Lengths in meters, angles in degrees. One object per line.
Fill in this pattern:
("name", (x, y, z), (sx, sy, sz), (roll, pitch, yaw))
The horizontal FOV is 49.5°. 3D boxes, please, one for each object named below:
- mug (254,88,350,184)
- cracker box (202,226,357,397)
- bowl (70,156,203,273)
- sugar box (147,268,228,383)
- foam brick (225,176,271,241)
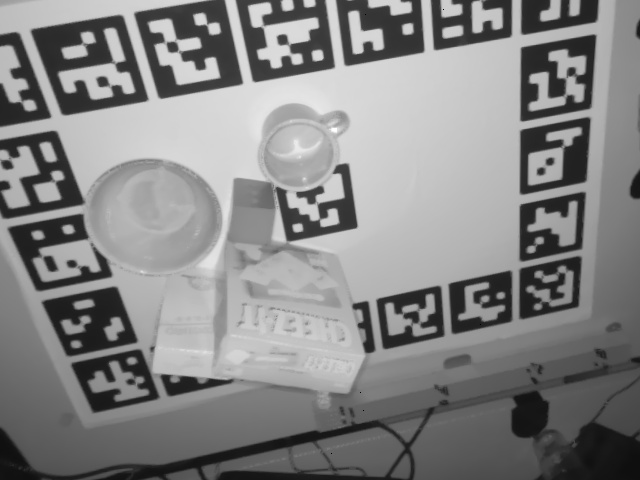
("mug", (-0.022, -0.130, 0.812), (0.117, 0.082, 0.093), (-19, 128, 0))
("cracker box", (-0.052, 0.078, 0.850), (0.165, 0.214, 0.071), (16, 118, -16))
("bowl", (-0.215, -0.042, 0.836), (0.162, 0.055, 0.160), (-4, 118, -7))
("sugar box", (-0.161, 0.101, 0.865), (0.093, 0.177, 0.045), (8, 118, -13))
("foam brick", (-0.091, -0.040, 0.862), (0.053, 0.078, 0.051), (3, 119, -11))
